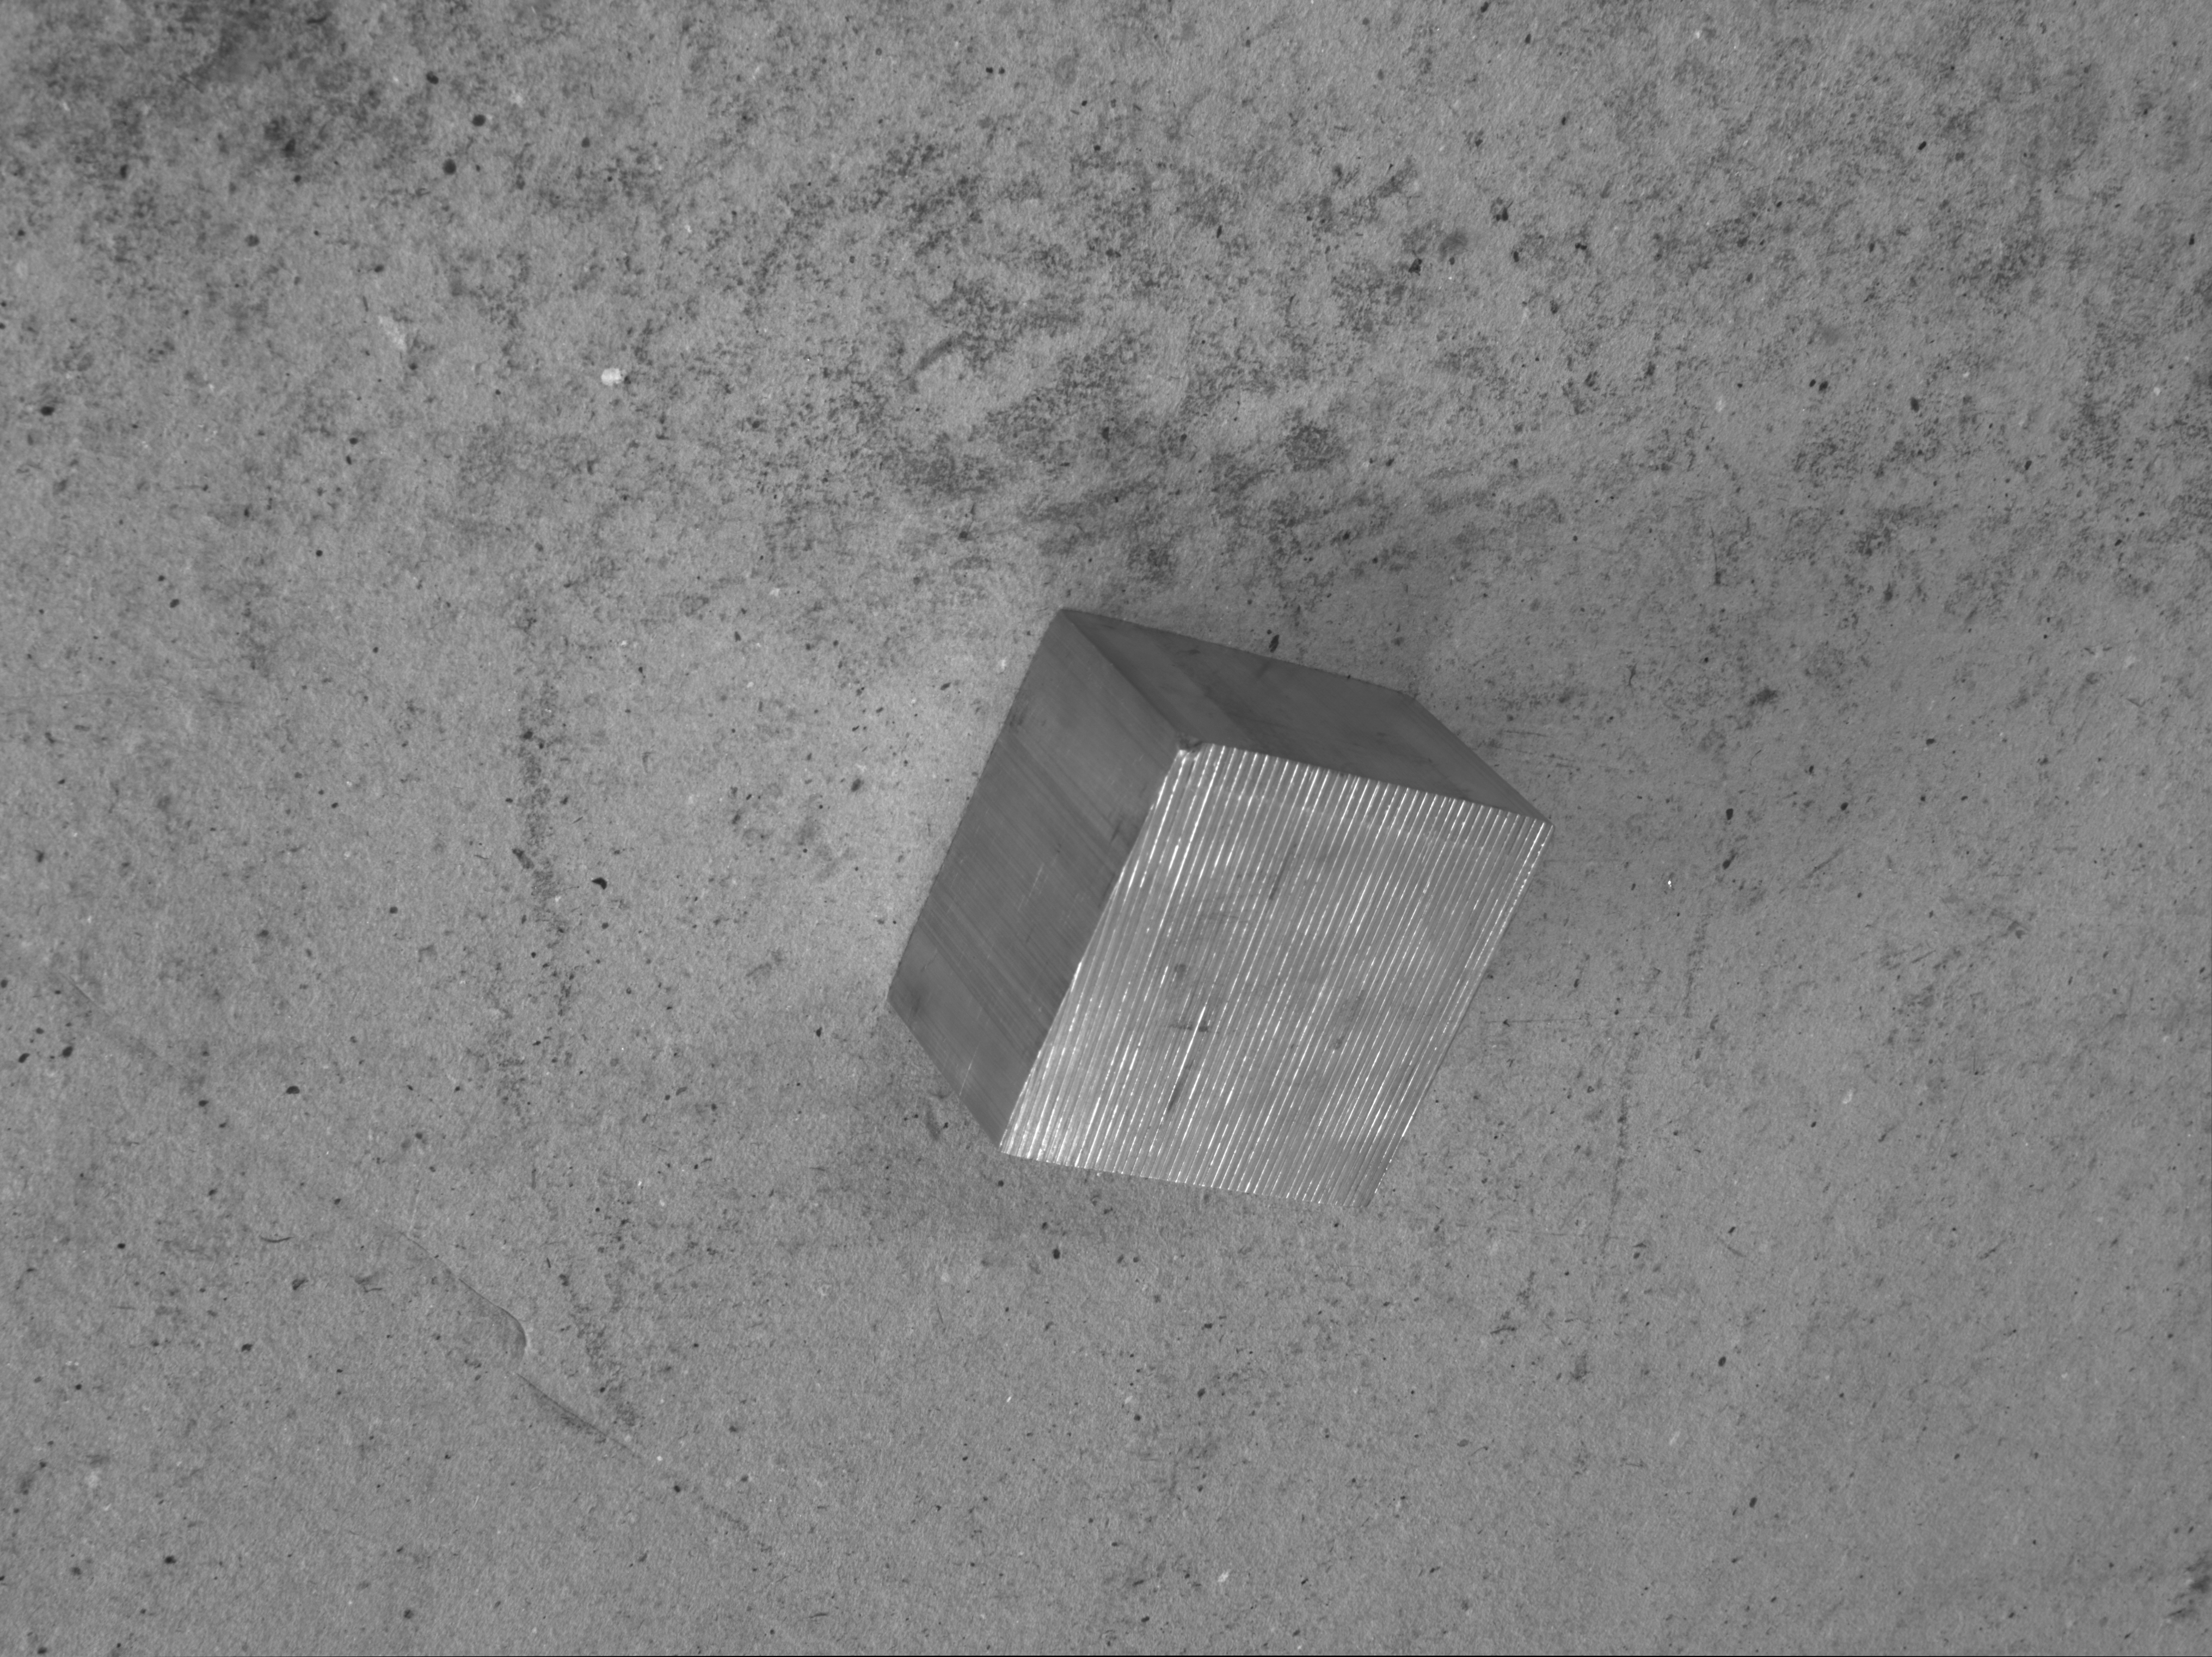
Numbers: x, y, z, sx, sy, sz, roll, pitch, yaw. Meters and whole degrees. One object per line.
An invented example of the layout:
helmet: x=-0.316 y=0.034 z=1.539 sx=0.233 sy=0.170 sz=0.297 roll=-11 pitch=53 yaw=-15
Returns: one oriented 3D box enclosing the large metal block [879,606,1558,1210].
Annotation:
large metal block: x=0.019 y=0.015 z=0.641 sx=0.080 sy=0.050 sz=0.080 roll=11 pitch=113 yaw=-34
